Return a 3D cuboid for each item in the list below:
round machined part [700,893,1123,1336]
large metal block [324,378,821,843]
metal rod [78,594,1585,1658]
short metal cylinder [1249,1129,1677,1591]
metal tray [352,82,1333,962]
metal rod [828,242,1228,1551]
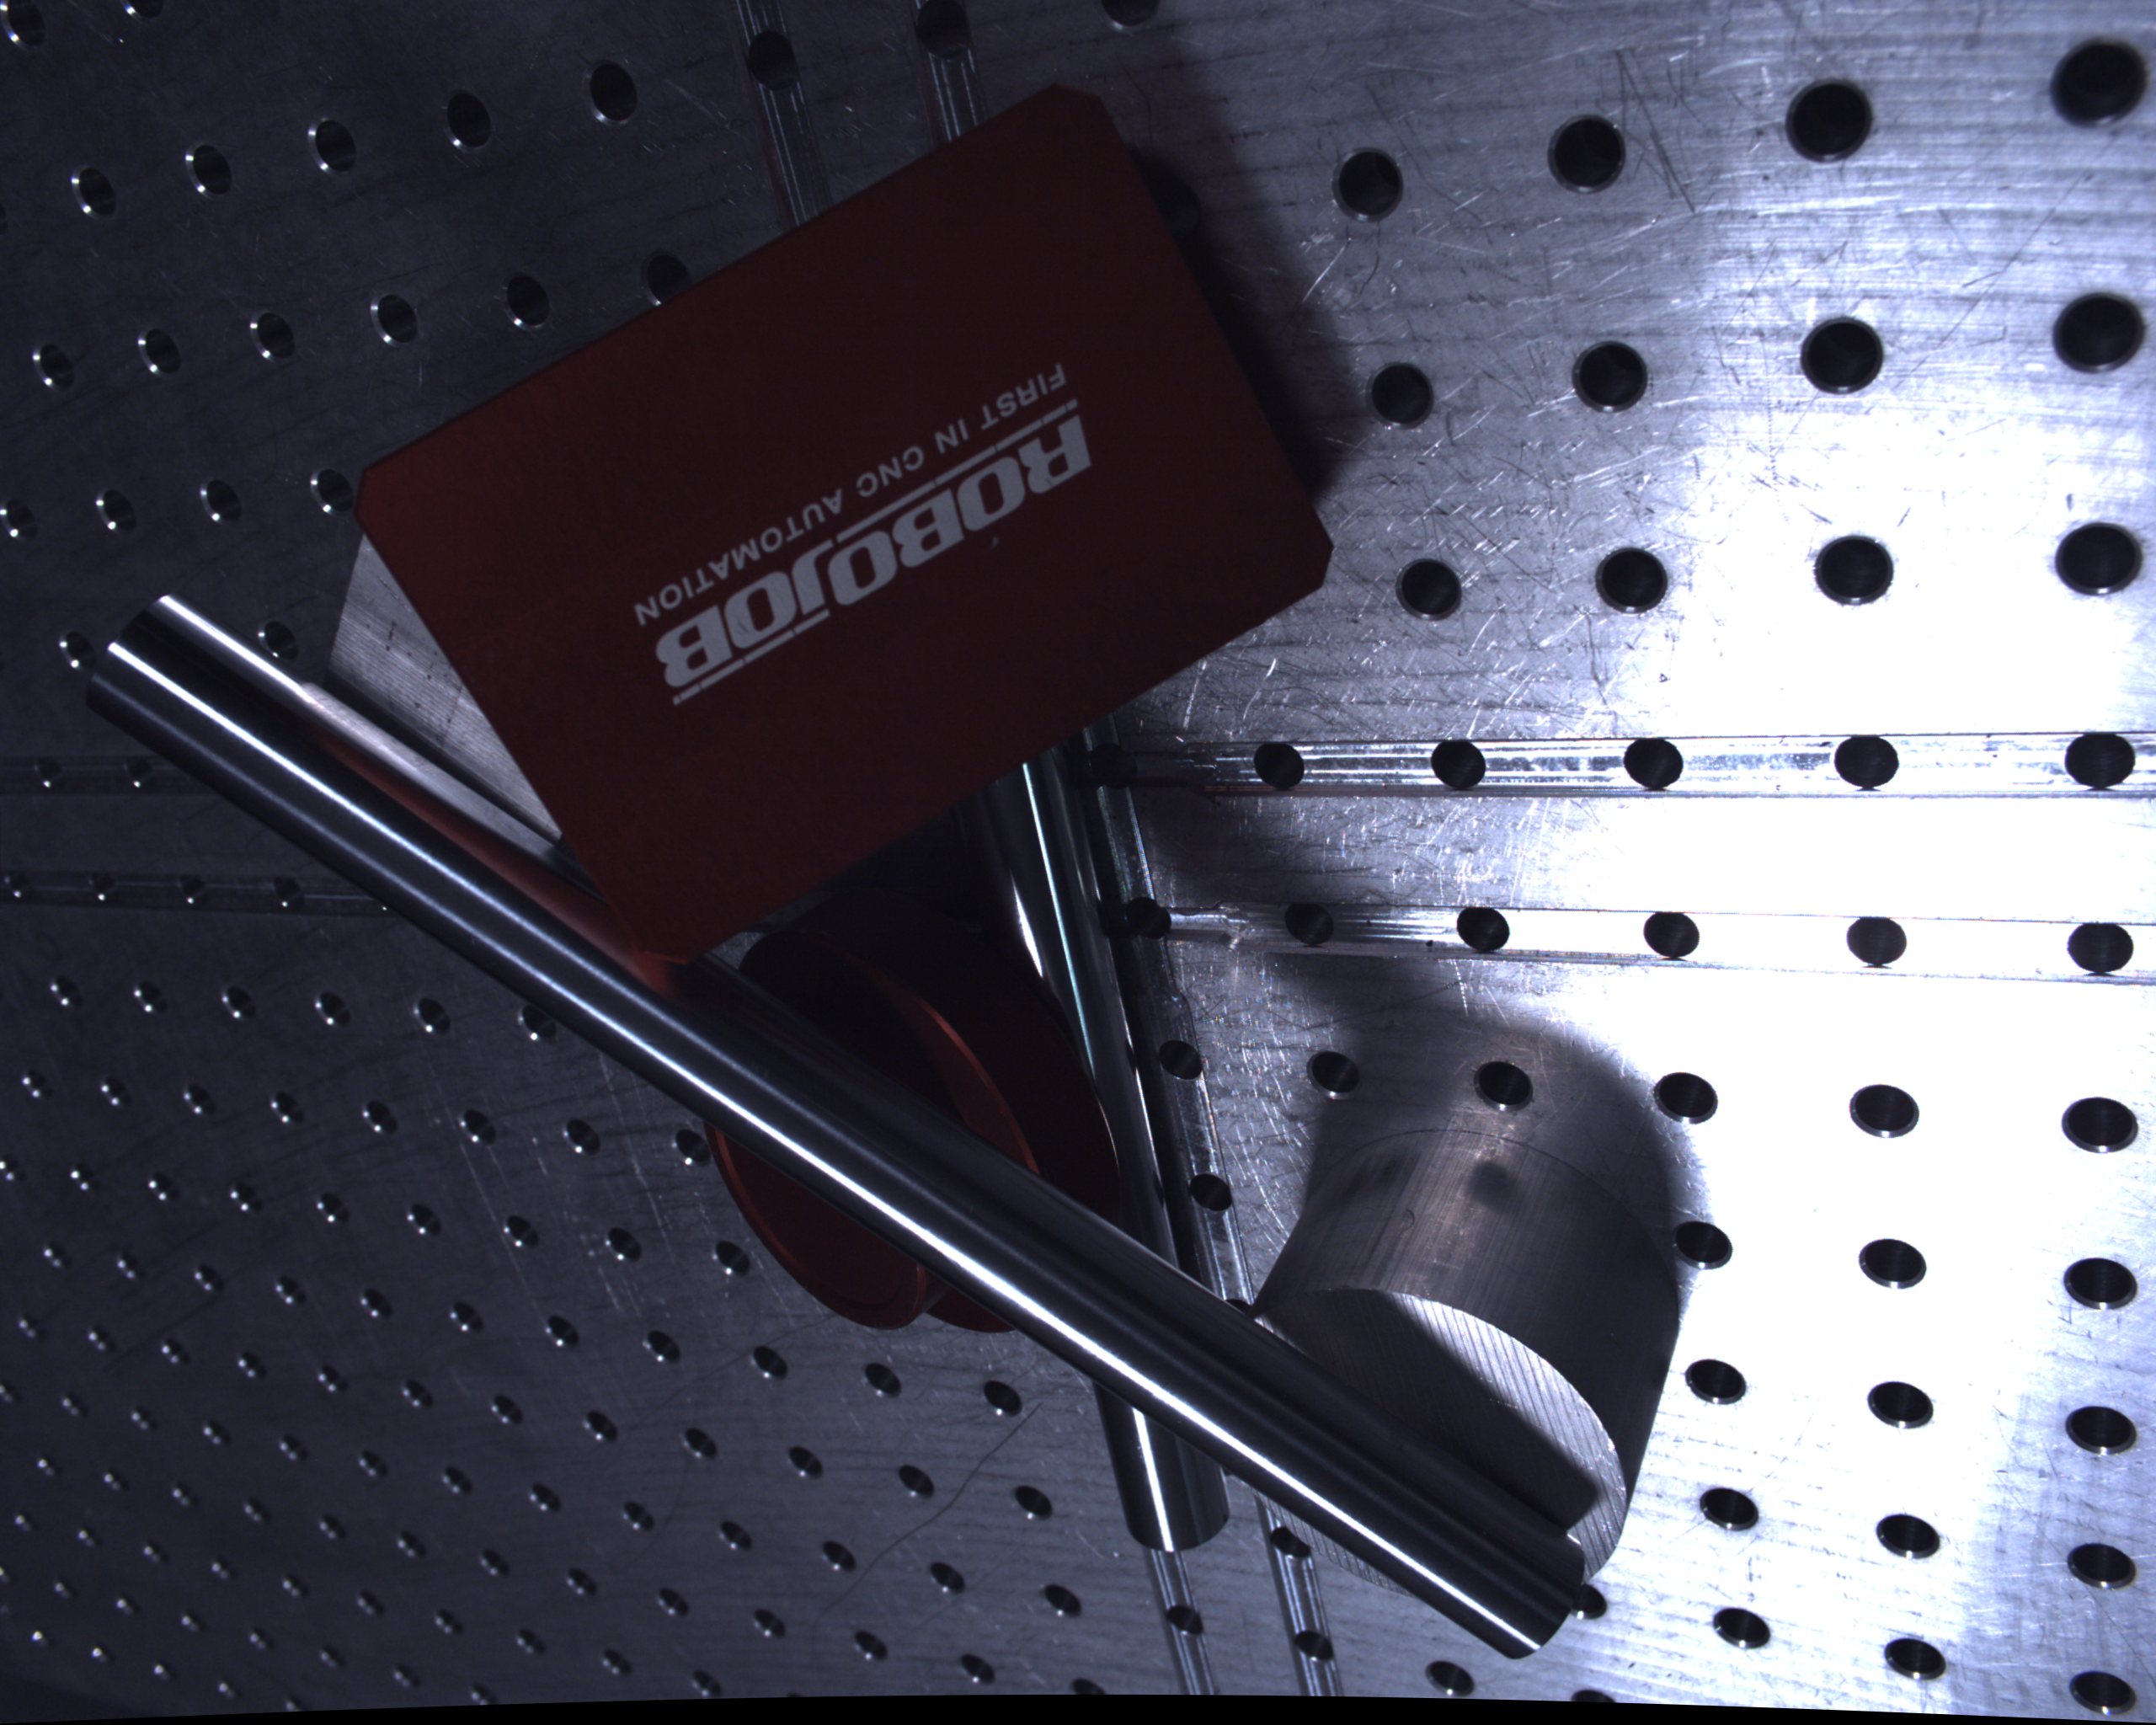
[{"bbox_3d":[-0.041,0.059,0.436,0.098,0.042,0.097,27,134,32],"label":"round machined part"},{"bbox_3d":[-0.097,-0.039,0.402,0.050,0.080,0.079,36,129,4],"label":"large metal block"},{"bbox_3d":[-0.038,0.050,0.369,0.301,0.025,0.025,35,129,-6],"label":"metal rod"},{"bbox_3d":[0.075,0.101,0.418,0.080,0.050,0.079,13,124,20],"label":"short metal cylinder"},{"bbox_3d":[-0.036,-0.055,0.341,0.131,0.030,0.090,-31,105,-6],"label":"metal tray"},{"bbox_3d":[-0.005,0.022,0.426,0.025,0.025,0.298,2,120,27],"label":"metal rod"}]
